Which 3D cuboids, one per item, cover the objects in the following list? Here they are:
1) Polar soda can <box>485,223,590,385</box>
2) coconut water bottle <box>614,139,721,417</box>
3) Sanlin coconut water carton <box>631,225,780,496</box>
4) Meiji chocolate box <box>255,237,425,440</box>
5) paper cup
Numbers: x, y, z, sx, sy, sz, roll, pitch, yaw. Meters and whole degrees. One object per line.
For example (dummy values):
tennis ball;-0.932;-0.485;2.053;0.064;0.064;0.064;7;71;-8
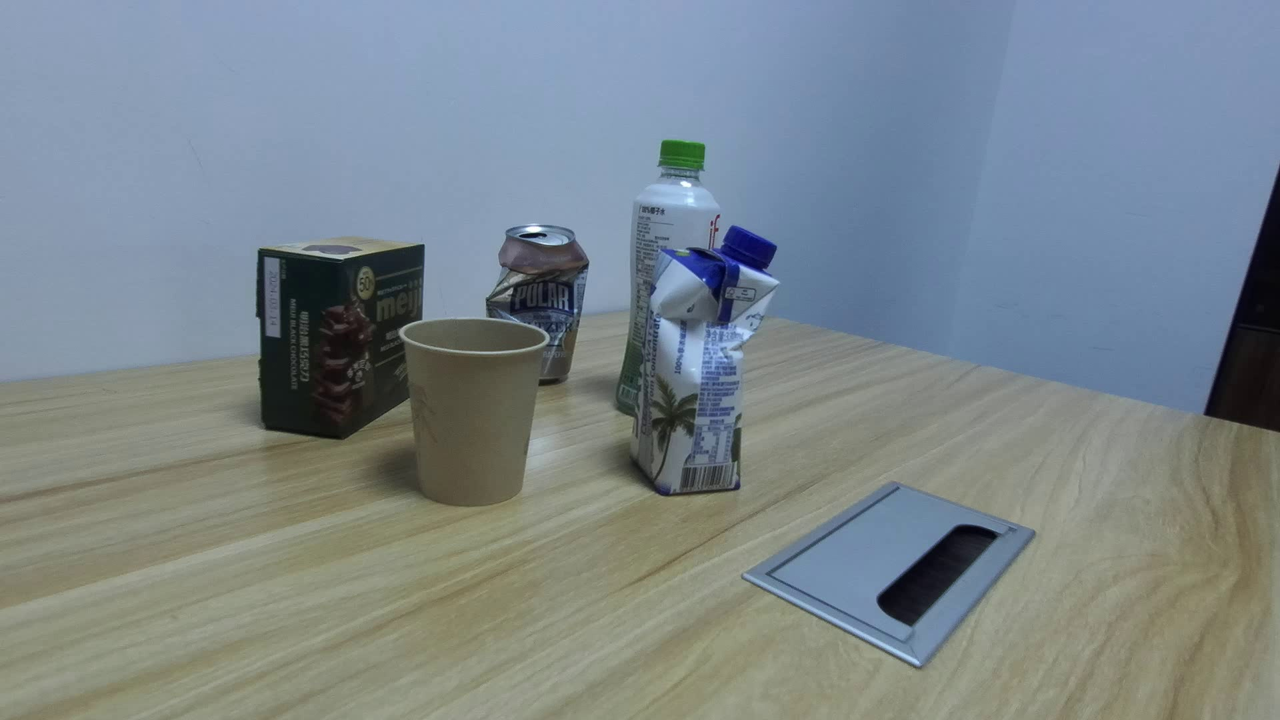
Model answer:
Polar soda can;-0.084;-0.043;0.560;0.066;0.121;0.071;21;23;27
coconut water bottle;0.021;-0.053;0.492;0.063;0.188;0.063;5;7;0
Sanlin coconut water carton;0.035;-0.001;0.390;0.070;0.143;0.060;1;16;-21
Meiji chocolate box;-0.188;-0.019;0.454;0.056;0.109;0.110;7;14;5
paper cup;-0.086;0.026;0.365;0.075;0.082;0.075;5;14;-1
